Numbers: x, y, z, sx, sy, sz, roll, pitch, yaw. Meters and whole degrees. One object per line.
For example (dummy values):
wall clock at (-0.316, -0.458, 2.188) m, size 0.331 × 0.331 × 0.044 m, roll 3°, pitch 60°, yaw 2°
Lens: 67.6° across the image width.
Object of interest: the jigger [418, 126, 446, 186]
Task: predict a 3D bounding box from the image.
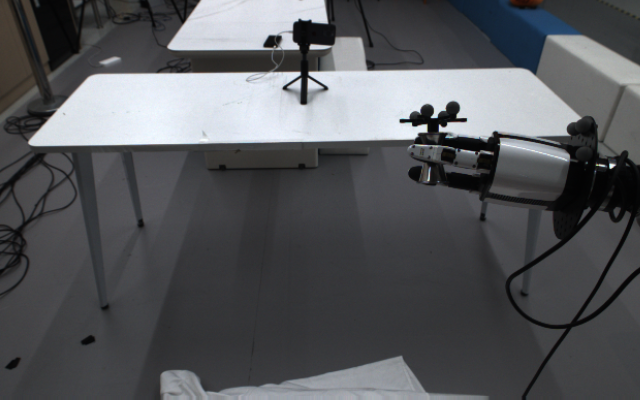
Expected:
jigger at (0.153, -0.057, 0.660) m, size 0.043 × 0.071 × 0.043 m, roll -1°, pitch 2°, yaw 0°
